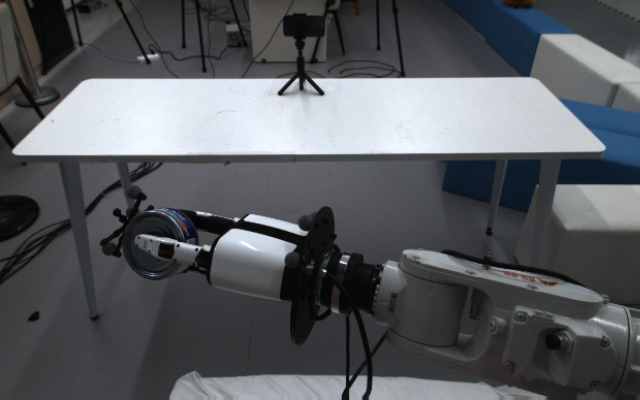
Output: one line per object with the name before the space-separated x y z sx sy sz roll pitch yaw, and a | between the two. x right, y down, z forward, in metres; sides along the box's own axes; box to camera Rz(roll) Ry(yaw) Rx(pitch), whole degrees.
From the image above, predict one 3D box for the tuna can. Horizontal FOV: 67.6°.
tuna can | -0.191 0.057 0.583 0.085 0.085 0.034 10 6 11
